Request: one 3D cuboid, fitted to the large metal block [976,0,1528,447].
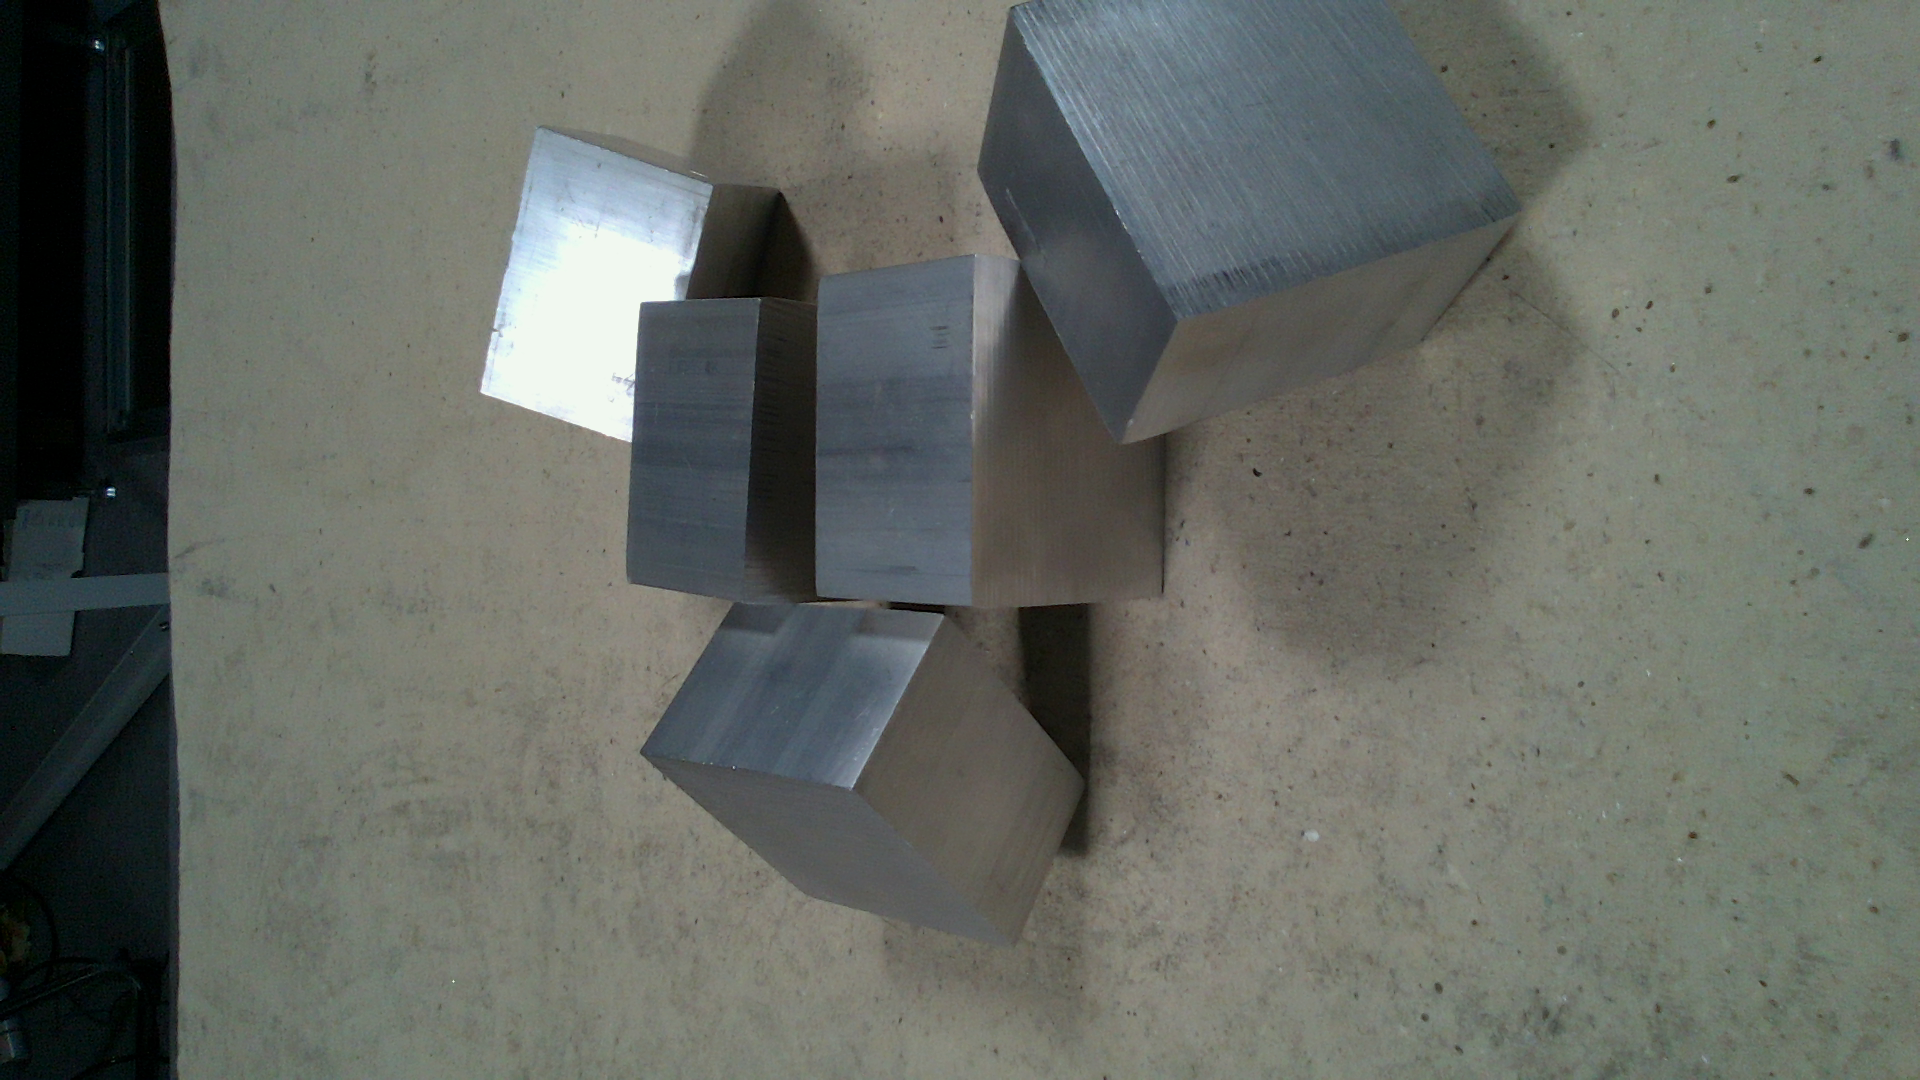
[{"bbox_3d":[0.059,-0.077,0.301,0.050,0.080,0.080,107,141,-64],"label":"large metal block"}]

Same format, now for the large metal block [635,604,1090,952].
[{"bbox_3d":[-0.025,0.062,0.372,0.080,0.080,0.050,1,52,40],"label":"large metal block"}]

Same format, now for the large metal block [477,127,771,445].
[{"bbox_3d":[-0.102,-0.080,0.433,0.050,0.080,0.080,18,104,2],"label":"large metal block"}]

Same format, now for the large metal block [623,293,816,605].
[{"bbox_3d":[-0.047,-0.025,0.399,0.050,0.080,0.080,6,94,40],"label":"large metal block"}]

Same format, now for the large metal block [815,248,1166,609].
[{"bbox_3d":[0.010,-0.025,0.351,0.050,0.080,0.080,1,91,40],"label":"large metal block"}]
